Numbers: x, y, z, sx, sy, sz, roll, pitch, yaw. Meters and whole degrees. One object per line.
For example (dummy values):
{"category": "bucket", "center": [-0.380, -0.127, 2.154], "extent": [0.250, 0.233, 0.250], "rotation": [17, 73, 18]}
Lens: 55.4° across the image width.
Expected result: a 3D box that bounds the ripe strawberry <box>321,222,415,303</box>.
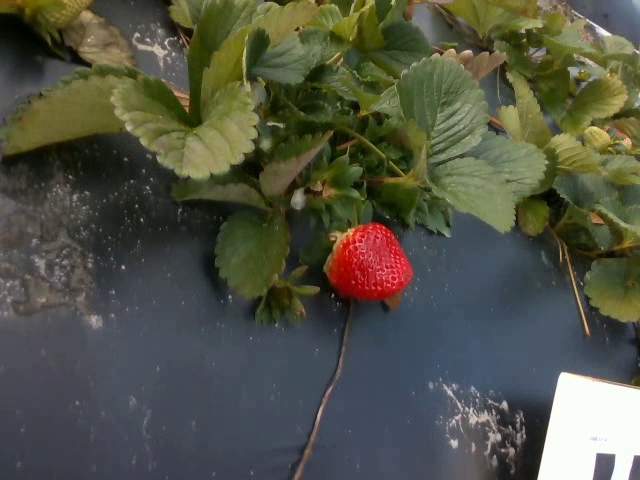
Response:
{"category": "ripe strawberry", "center": [0.030, 0.016, 0.342], "extent": [0.050, 0.049, 0.053], "rotation": [8, 20, -38]}
